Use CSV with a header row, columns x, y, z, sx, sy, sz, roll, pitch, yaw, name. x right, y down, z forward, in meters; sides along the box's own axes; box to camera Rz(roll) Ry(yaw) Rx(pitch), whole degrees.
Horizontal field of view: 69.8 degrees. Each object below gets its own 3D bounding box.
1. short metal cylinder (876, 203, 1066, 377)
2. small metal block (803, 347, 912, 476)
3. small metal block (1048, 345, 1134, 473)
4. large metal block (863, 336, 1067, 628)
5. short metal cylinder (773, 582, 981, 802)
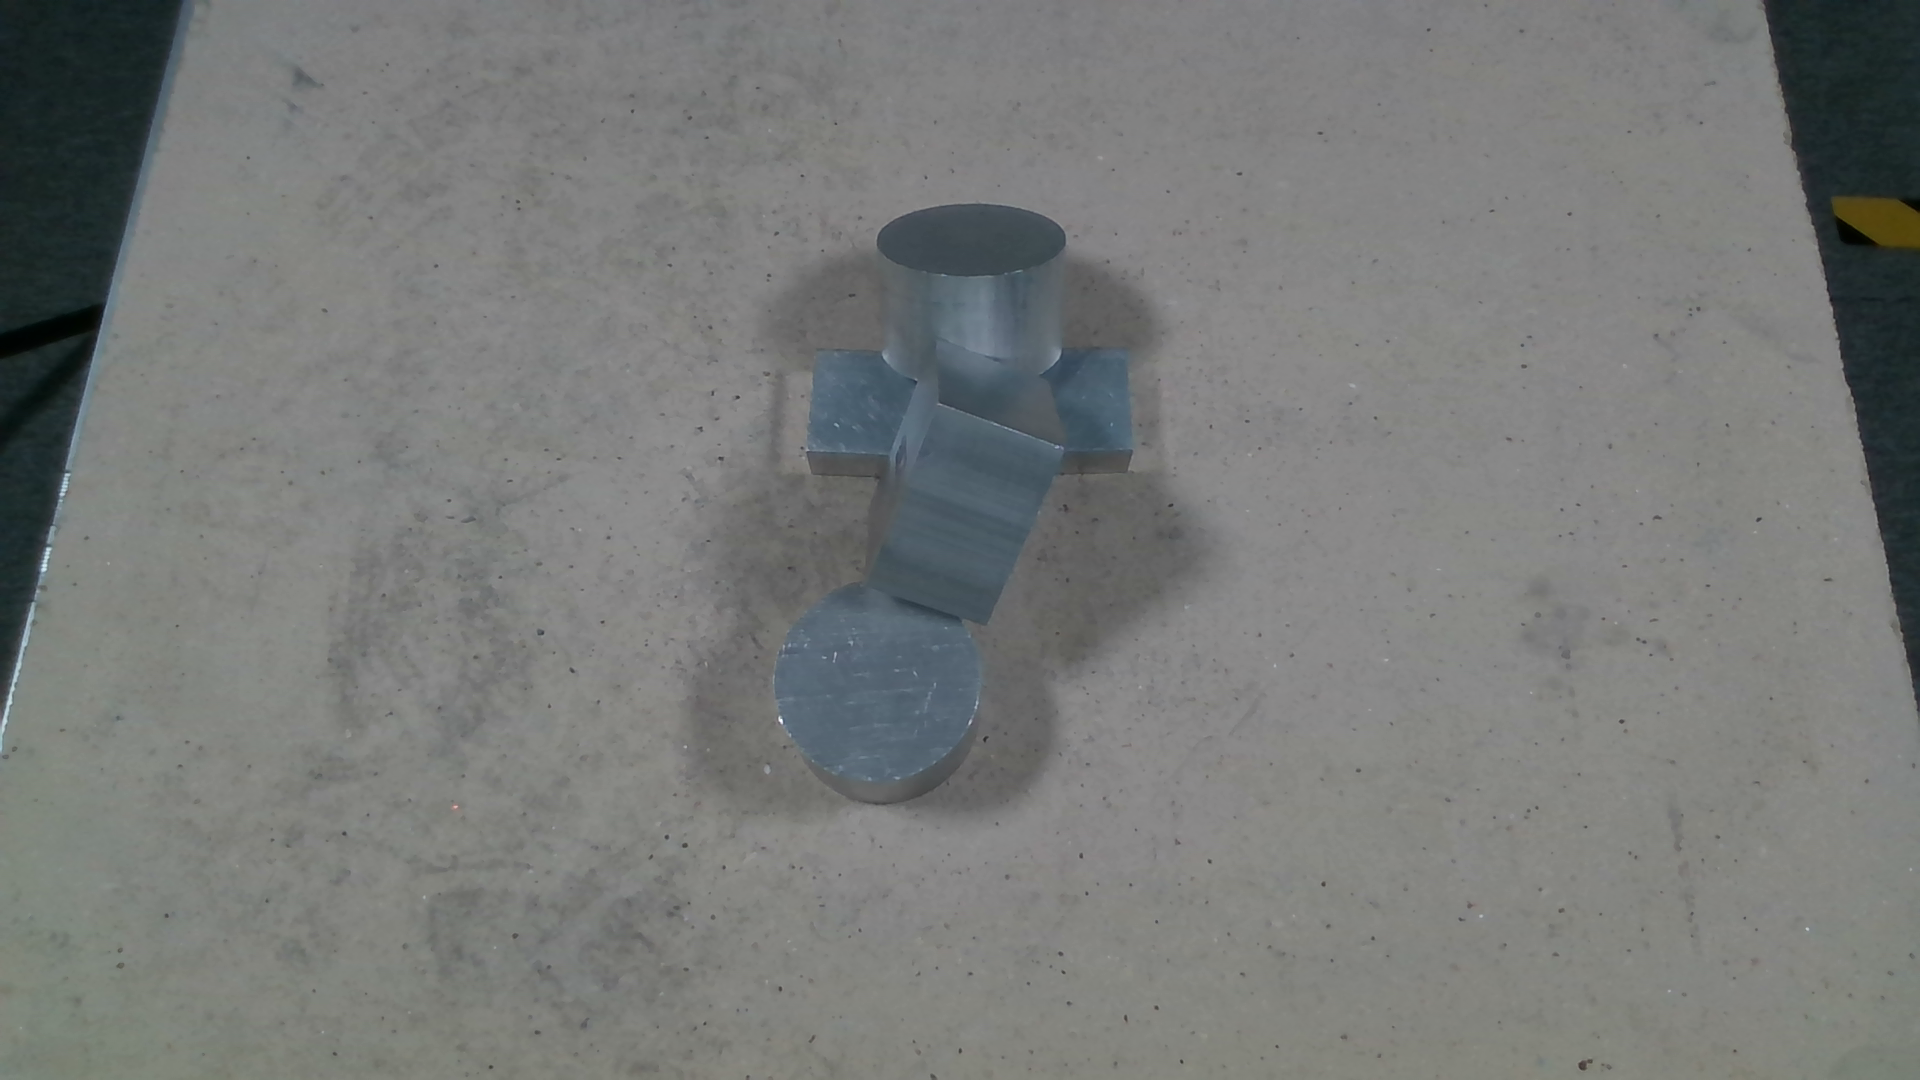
x,y,z,sx,sy,sz,roll,pitch,yaw,name
0.005,-0.107,0.594,0.080,0.050,0.080,-1,34,0,short metal cylinder
-0.041,-0.056,0.608,0.050,0.025,0.050,3,70,1,small metal block
0.049,-0.057,0.609,0.050,0.025,0.050,-1,70,0,small metal block
0.000,-0.025,0.548,0.050,0.080,0.080,19,114,-11,large metal block
-0.032,0.062,0.553,0.080,0.050,0.080,0,70,0,short metal cylinder
